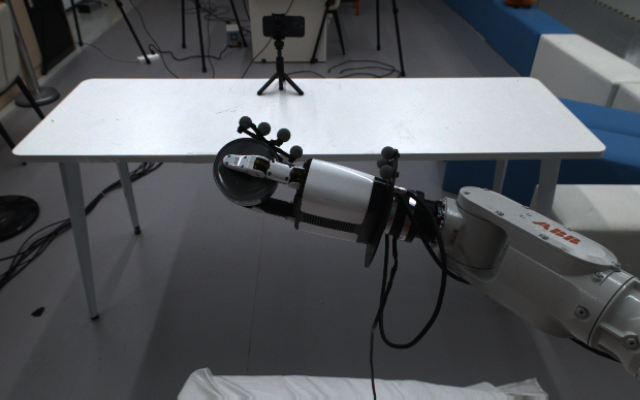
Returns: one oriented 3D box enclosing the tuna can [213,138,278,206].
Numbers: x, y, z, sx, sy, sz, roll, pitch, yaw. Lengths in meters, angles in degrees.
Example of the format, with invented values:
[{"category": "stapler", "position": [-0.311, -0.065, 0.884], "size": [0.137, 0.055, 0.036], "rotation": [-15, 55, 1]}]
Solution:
[{"category": "tuna can", "position": [-0.095, -0.036, 0.638], "size": [0.085, 0.034, 0.085], "rotation": [1, 75, -4]}]
